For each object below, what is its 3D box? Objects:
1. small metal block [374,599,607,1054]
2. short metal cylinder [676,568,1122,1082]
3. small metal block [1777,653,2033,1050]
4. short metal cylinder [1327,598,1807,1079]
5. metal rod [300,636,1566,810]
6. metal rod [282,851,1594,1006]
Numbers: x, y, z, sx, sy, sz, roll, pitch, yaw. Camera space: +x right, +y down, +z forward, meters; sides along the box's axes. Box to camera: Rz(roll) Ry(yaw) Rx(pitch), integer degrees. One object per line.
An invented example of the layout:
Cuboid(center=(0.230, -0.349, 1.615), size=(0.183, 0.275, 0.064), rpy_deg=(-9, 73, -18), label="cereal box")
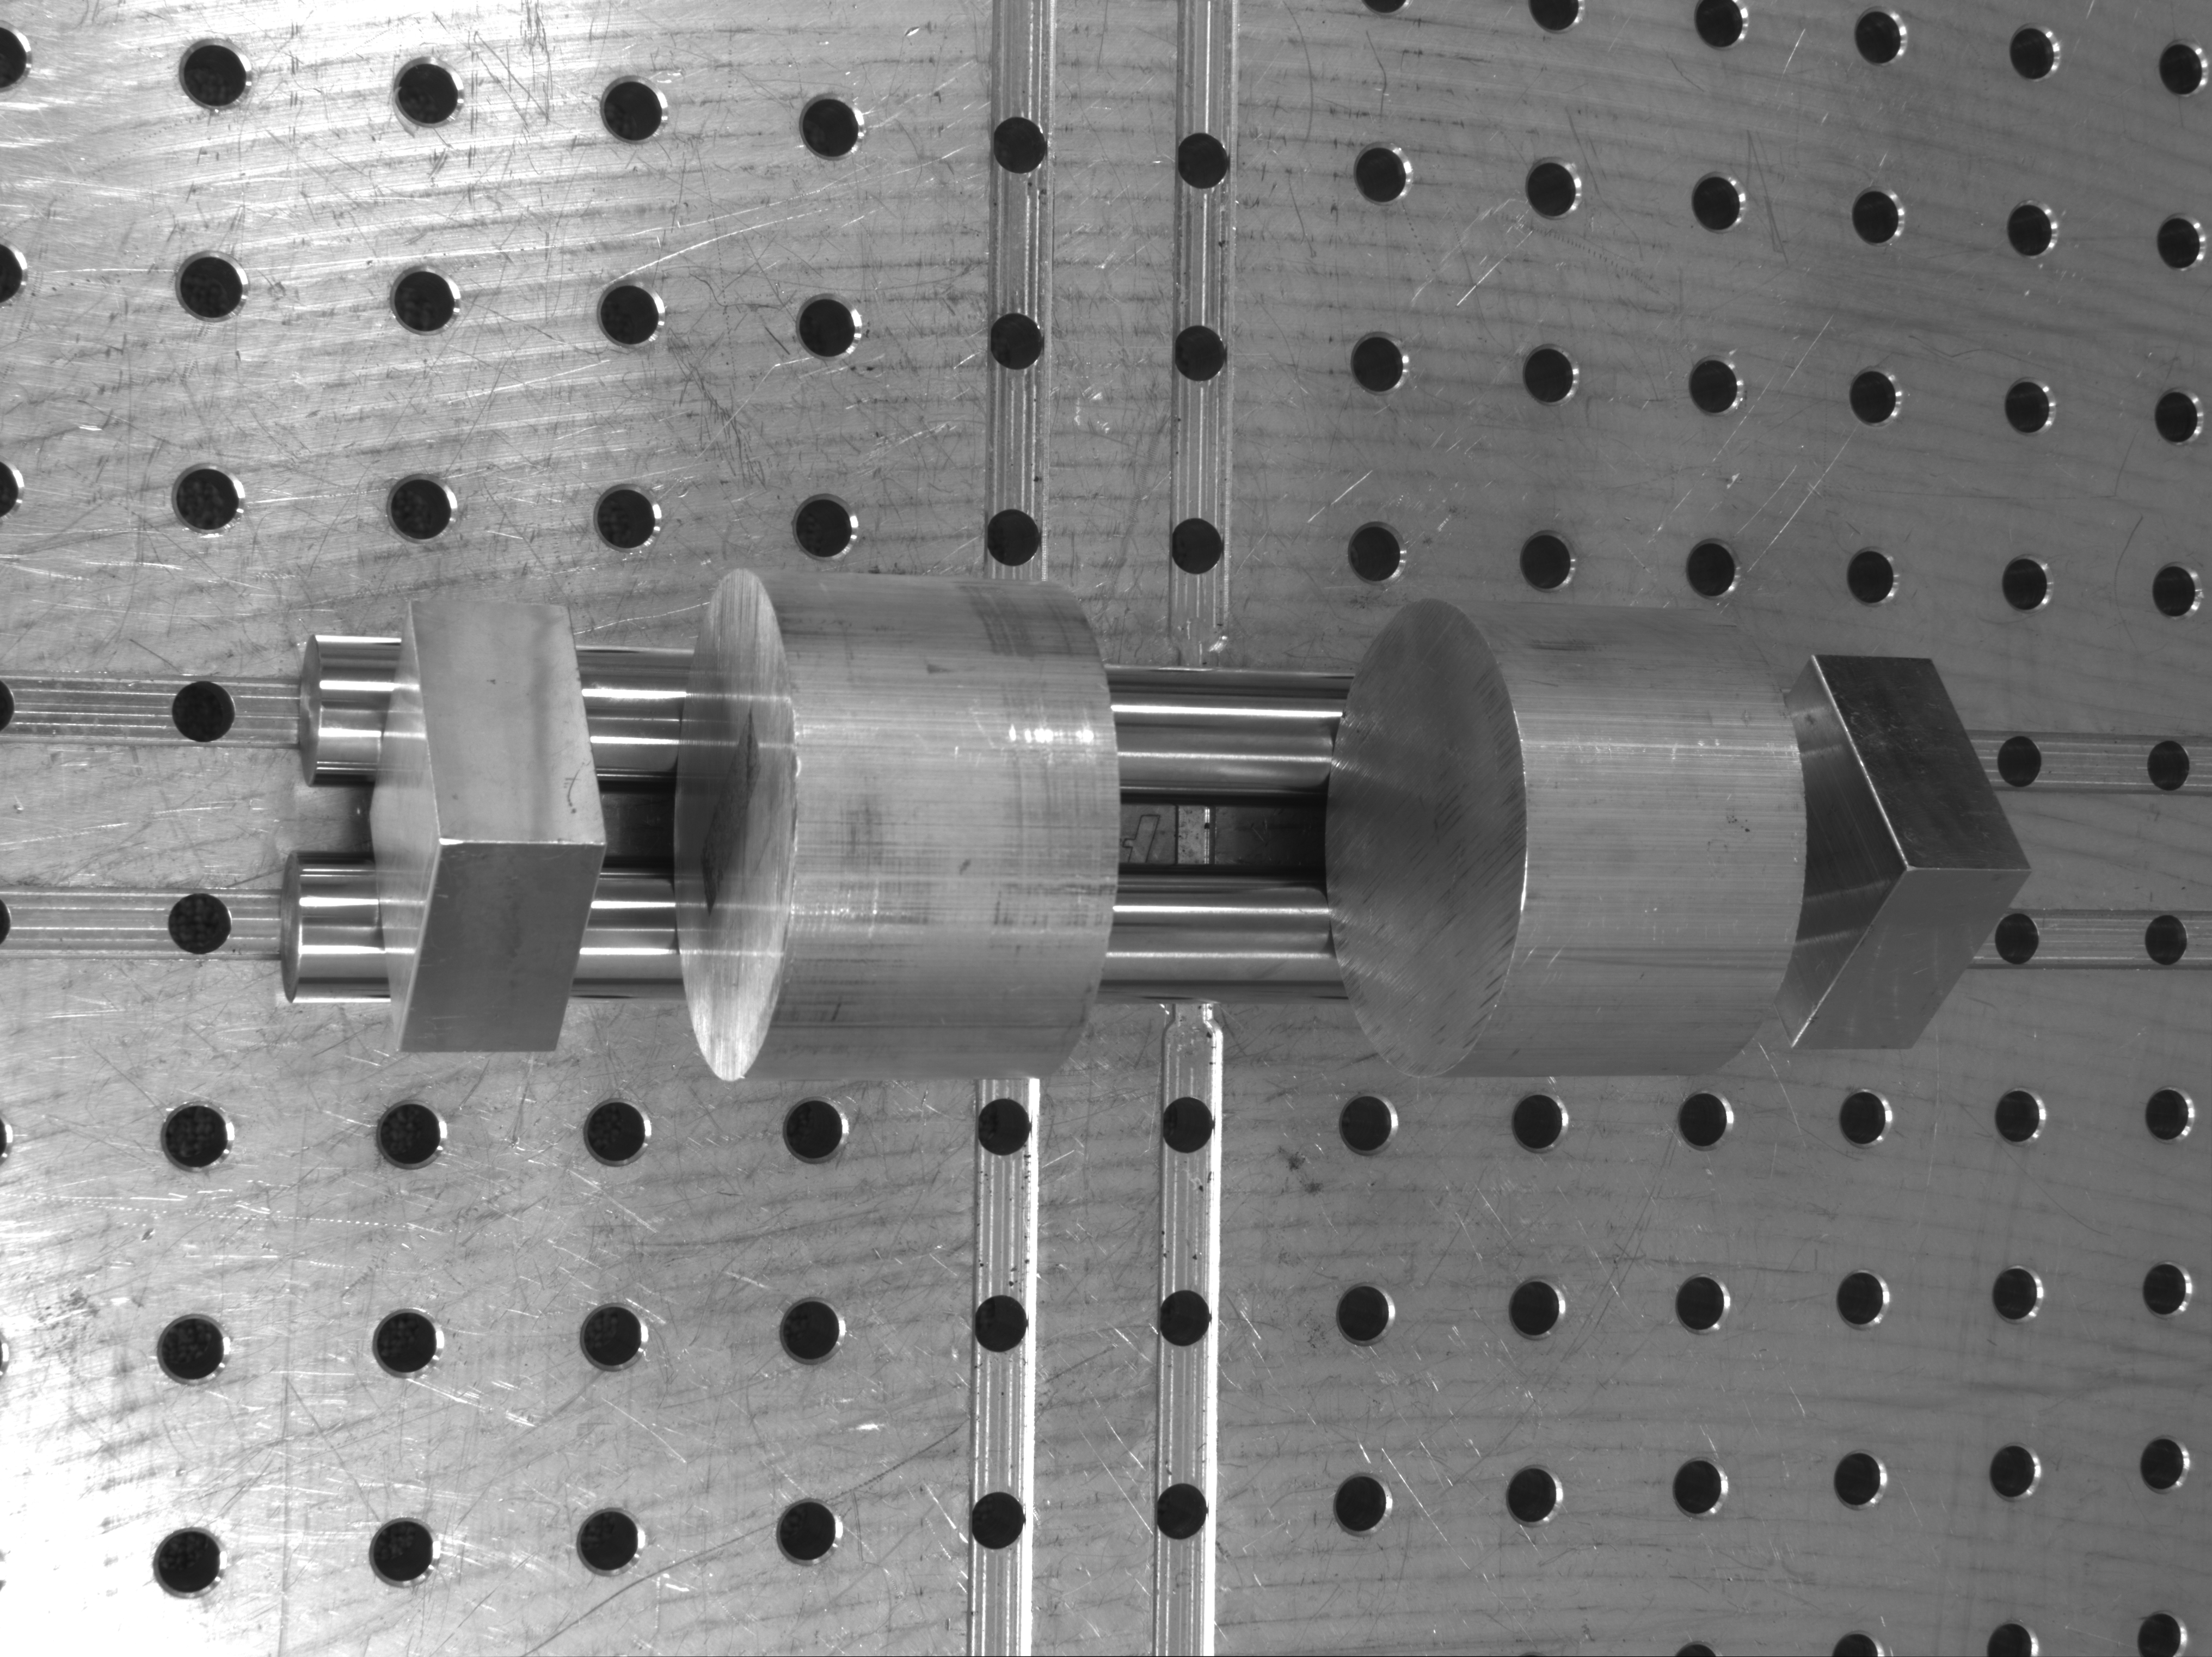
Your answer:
Cuboid(center=(-0.097, 0.000, 0.574), size=(0.025, 0.050, 0.050), rpy_deg=(1, 48, -19), label="small metal block")
Cuboid(center=(-0.035, 0.000, 0.581), size=(0.050, 0.080, 0.080), rpy_deg=(1, 90, -20), label="short metal cylinder")
Cuboid(center=(0.135, 0.004, 0.658), size=(0.025, 0.050, 0.050), rpy_deg=(1, 49, -19), label="small metal block")
Cuboid(center=(0.076, 0.002, 0.621), size=(0.050, 0.080, 0.080), rpy_deg=(1, 90, -20), label="short metal cylinder")
Cuboid(center=(0.011, -0.016, 0.650), size=(0.301, 0.025, 0.025), rpy_deg=(1, 90, -20), label="metal rod")
Cuboid(center=(0.009, 0.019, 0.649), size=(0.301, 0.025, 0.025), rpy_deg=(1, 90, -20), label="metal rod")
